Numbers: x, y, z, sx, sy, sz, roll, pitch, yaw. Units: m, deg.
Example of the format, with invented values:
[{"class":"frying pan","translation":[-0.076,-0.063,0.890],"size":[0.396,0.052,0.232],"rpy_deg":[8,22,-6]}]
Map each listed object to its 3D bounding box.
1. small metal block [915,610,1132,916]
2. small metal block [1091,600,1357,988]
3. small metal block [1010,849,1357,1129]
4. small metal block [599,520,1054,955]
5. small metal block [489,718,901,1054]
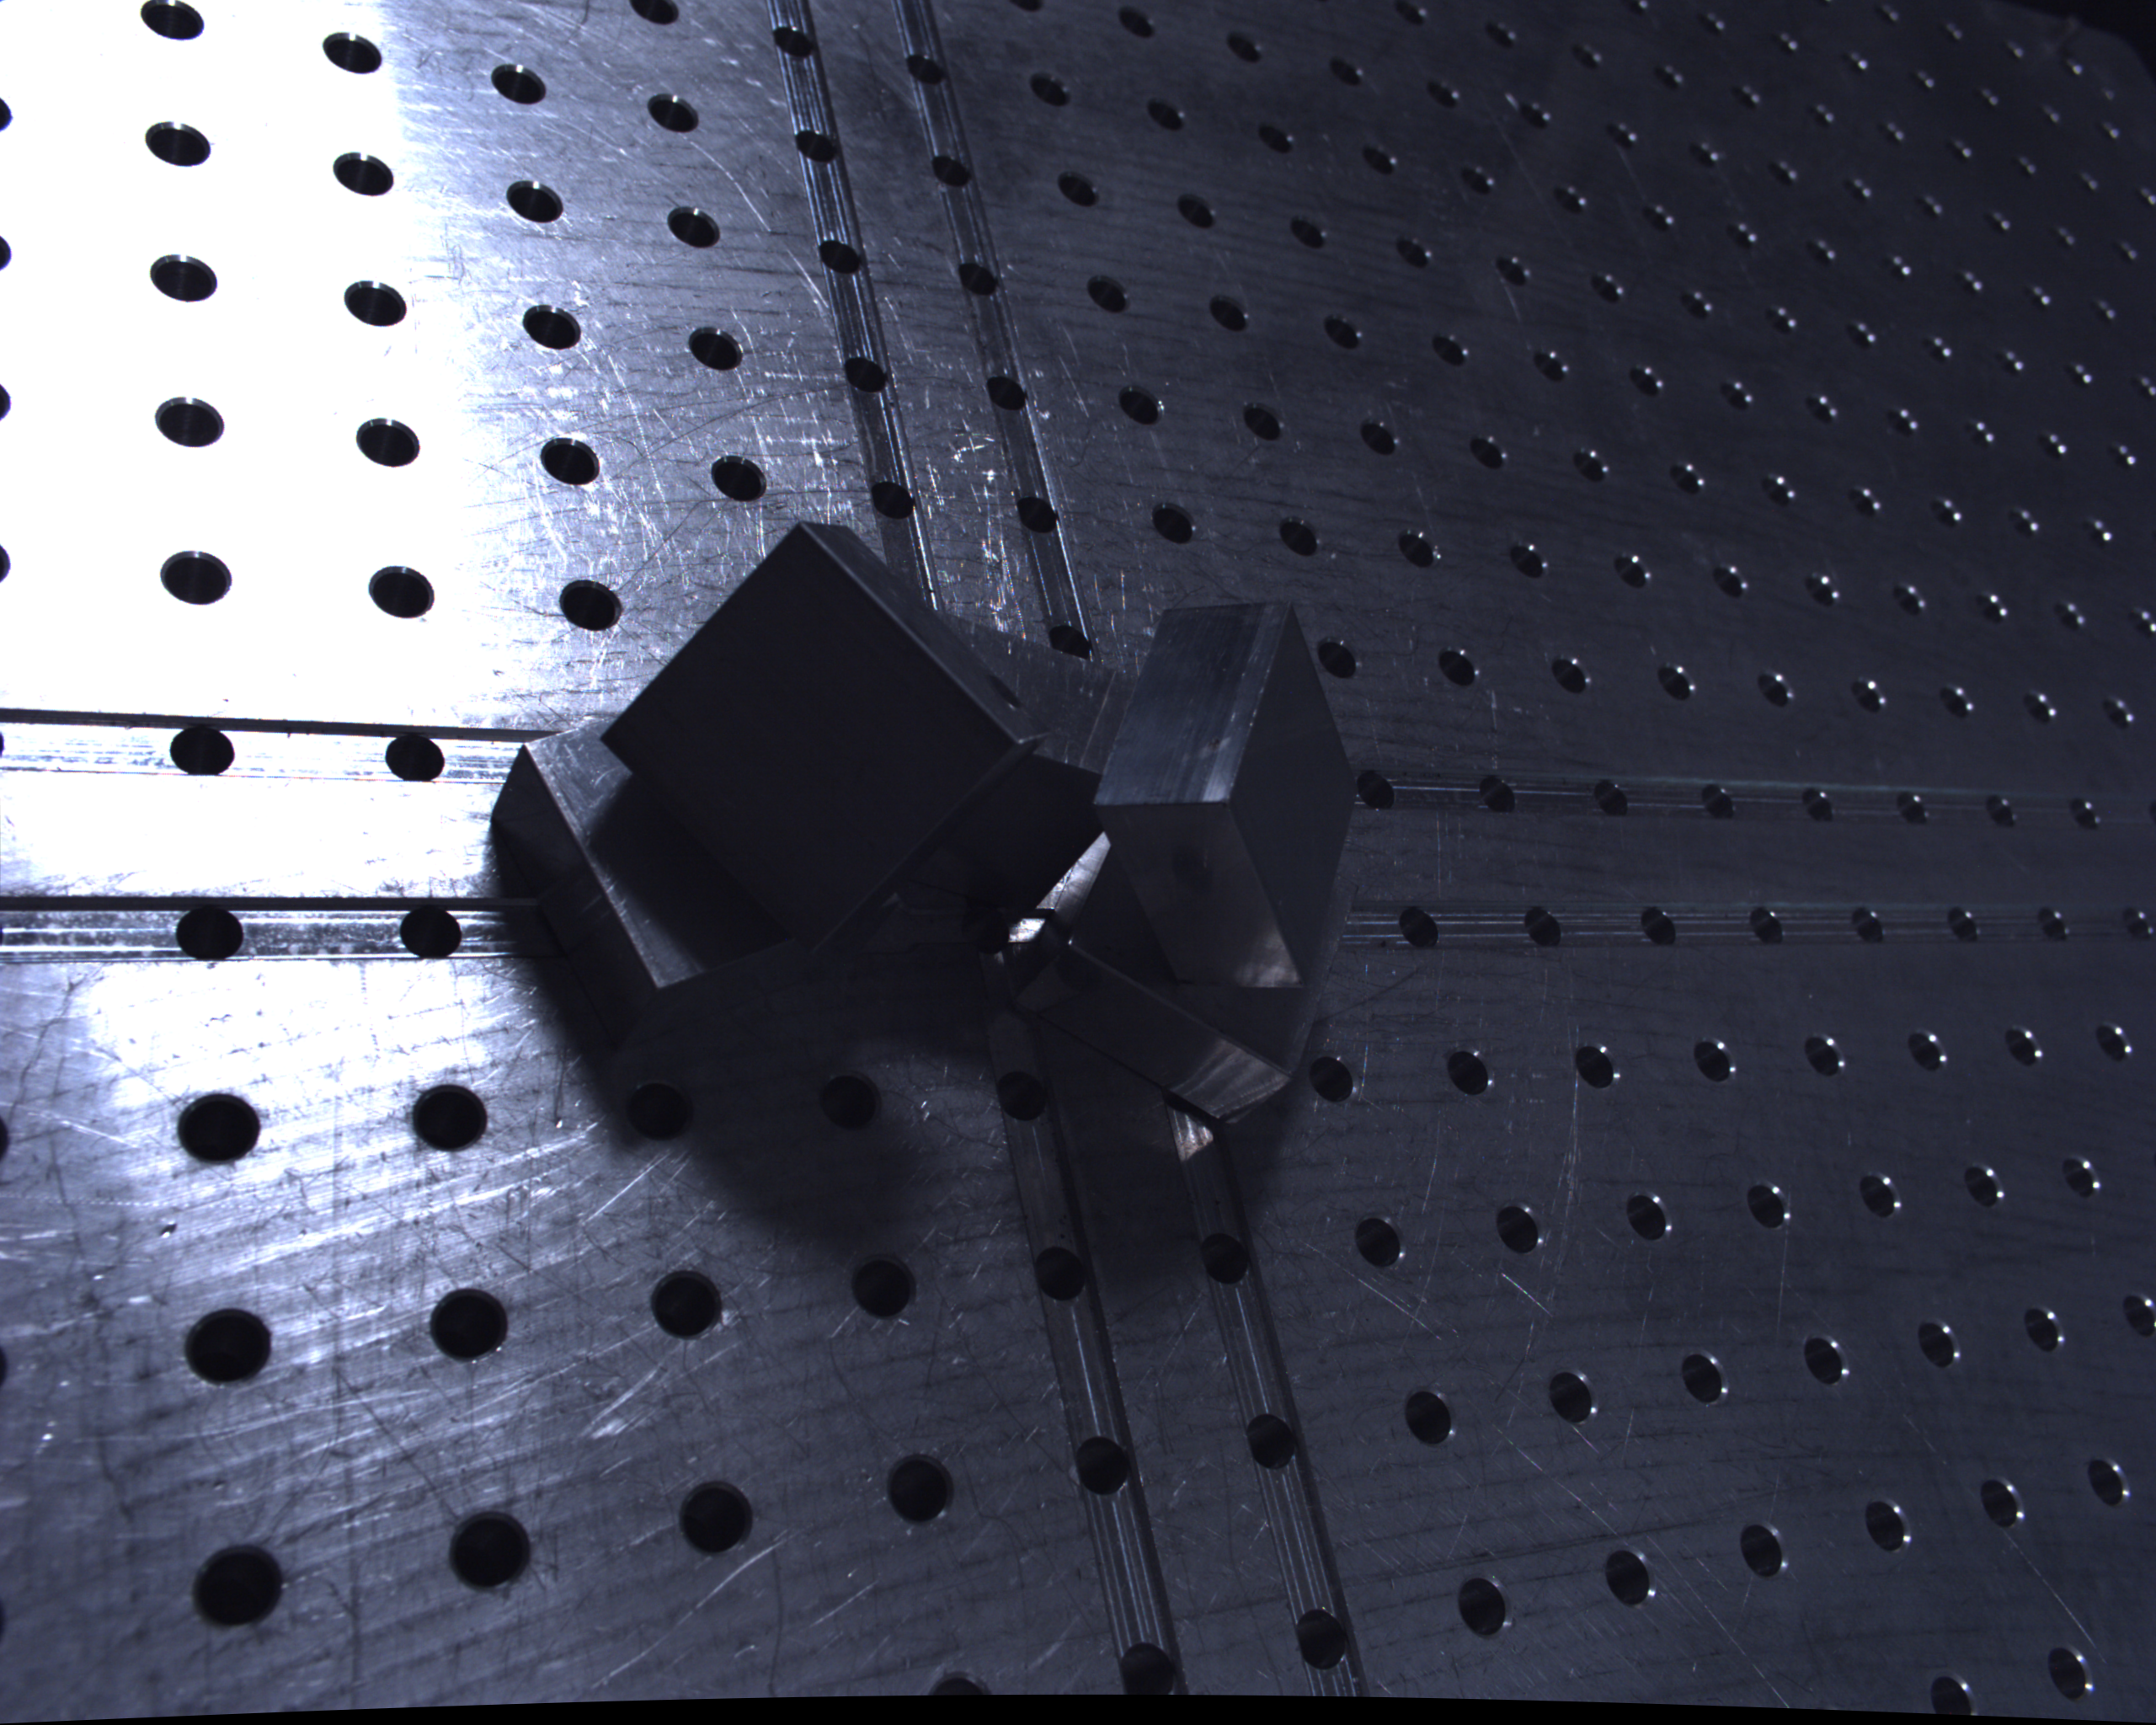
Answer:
[{"class":"small metal block","translation":[-0.021,-0.018,0.393],"size":[0.050,0.050,0.025],"rpy_deg":[17,55,-19]},{"class":"small metal block","translation":[0.028,-0.012,0.382],"size":[0.050,0.025,0.050],"rpy_deg":[64,35,-43]},{"class":"small metal block","translation":[0.022,0.016,0.412],"size":[0.050,0.025,0.050],"rpy_deg":[31,51,-9]},{"class":"small metal block","translation":[-0.041,-0.021,0.348],"size":[0.050,0.050,0.025],"rpy_deg":[45,12,3]},{"class":"small metal block","translation":[-0.069,-0.001,0.373],"size":[0.050,0.025,0.050],"rpy_deg":[-21,73,-36]}]
